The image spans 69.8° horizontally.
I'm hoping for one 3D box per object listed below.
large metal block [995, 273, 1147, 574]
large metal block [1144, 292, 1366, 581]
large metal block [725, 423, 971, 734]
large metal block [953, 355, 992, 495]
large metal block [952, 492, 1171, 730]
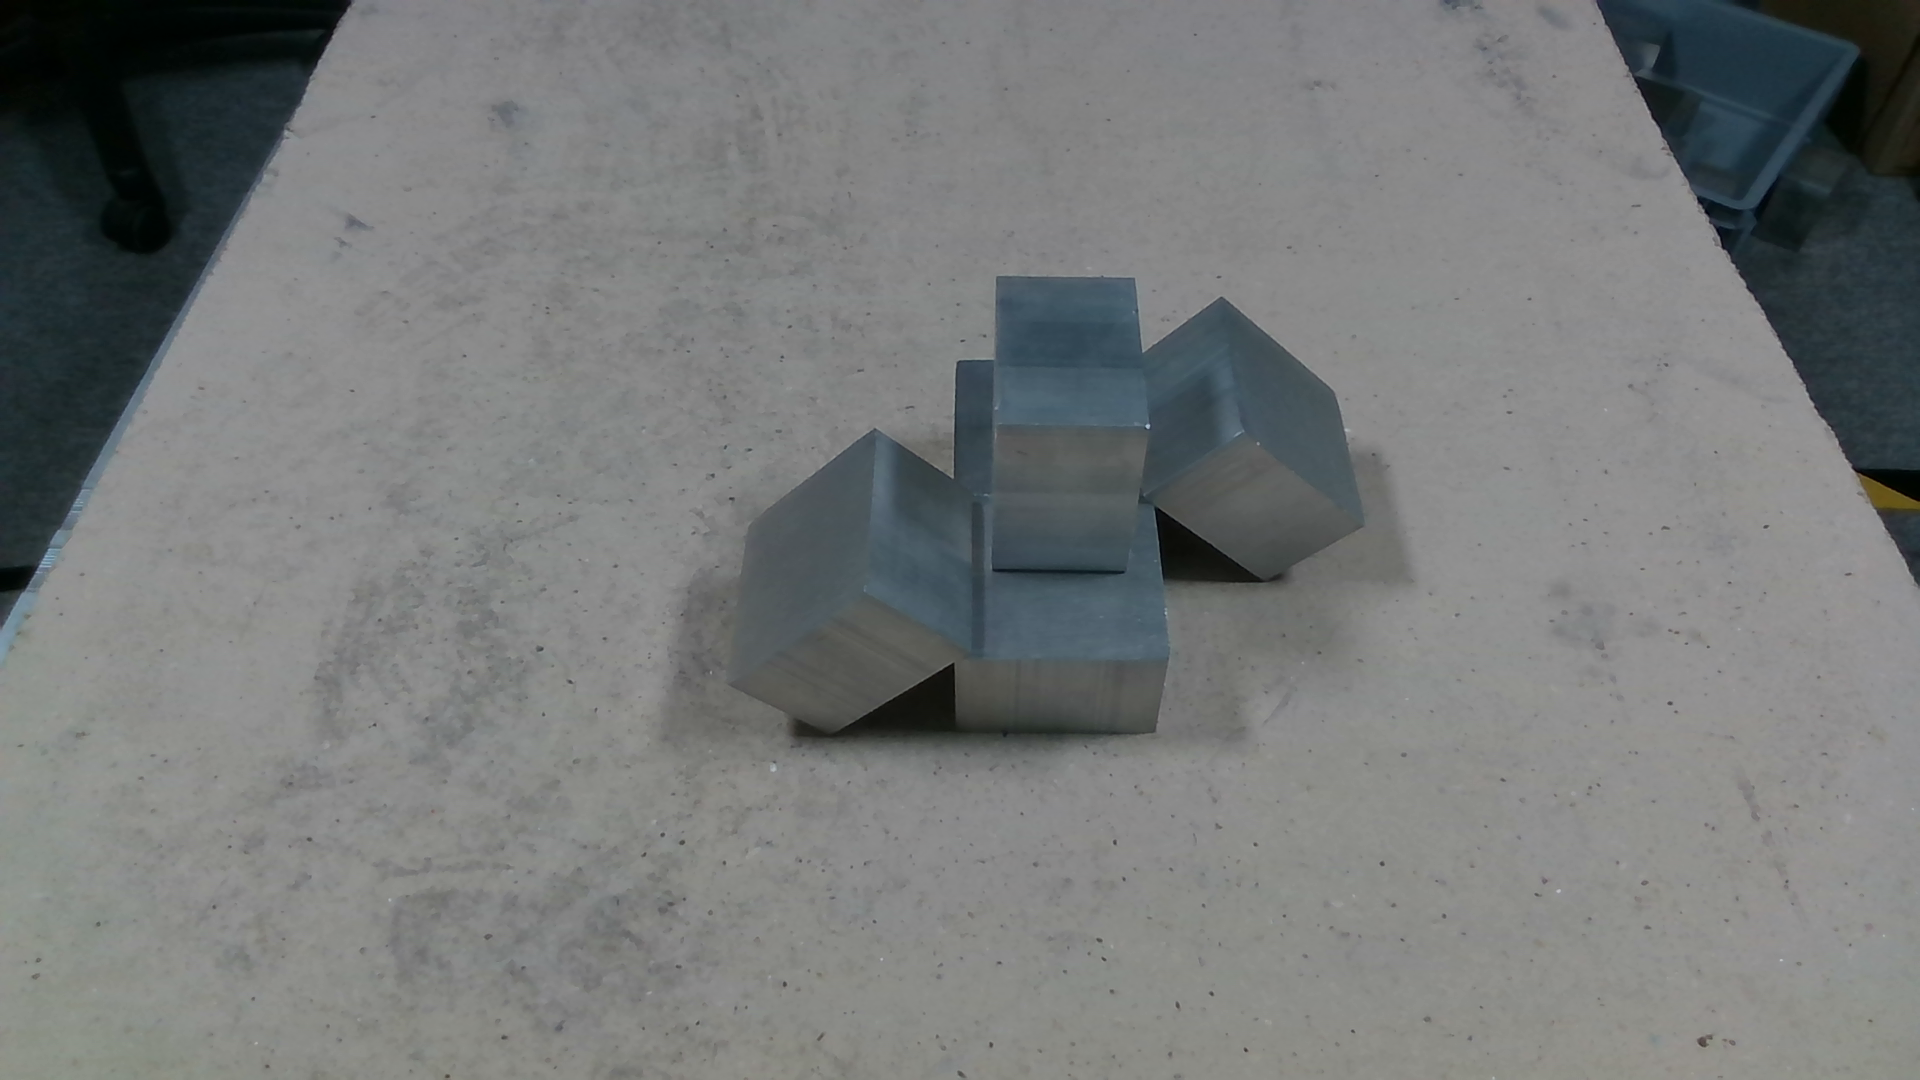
[{"bbox_3d":[0.039,-0.044,0.523,0.050,0.080,0.080,1,50,1],"label":"large metal block"},{"bbox_3d":[0.119,-0.043,0.579,0.080,0.050,0.080,32,40,-32],"label":"large metal block"},{"bbox_3d":[-0.042,0.016,0.530,0.050,0.080,0.080,32,41,-32],"label":"large metal block"},{"bbox_3d":[0.038,-0.034,0.597,0.080,0.050,0.080,0,50,0],"label":"large metal block"},{"bbox_3d":[0.037,0.027,0.546,0.080,0.050,0.080,0,50,0],"label":"large metal block"}]
